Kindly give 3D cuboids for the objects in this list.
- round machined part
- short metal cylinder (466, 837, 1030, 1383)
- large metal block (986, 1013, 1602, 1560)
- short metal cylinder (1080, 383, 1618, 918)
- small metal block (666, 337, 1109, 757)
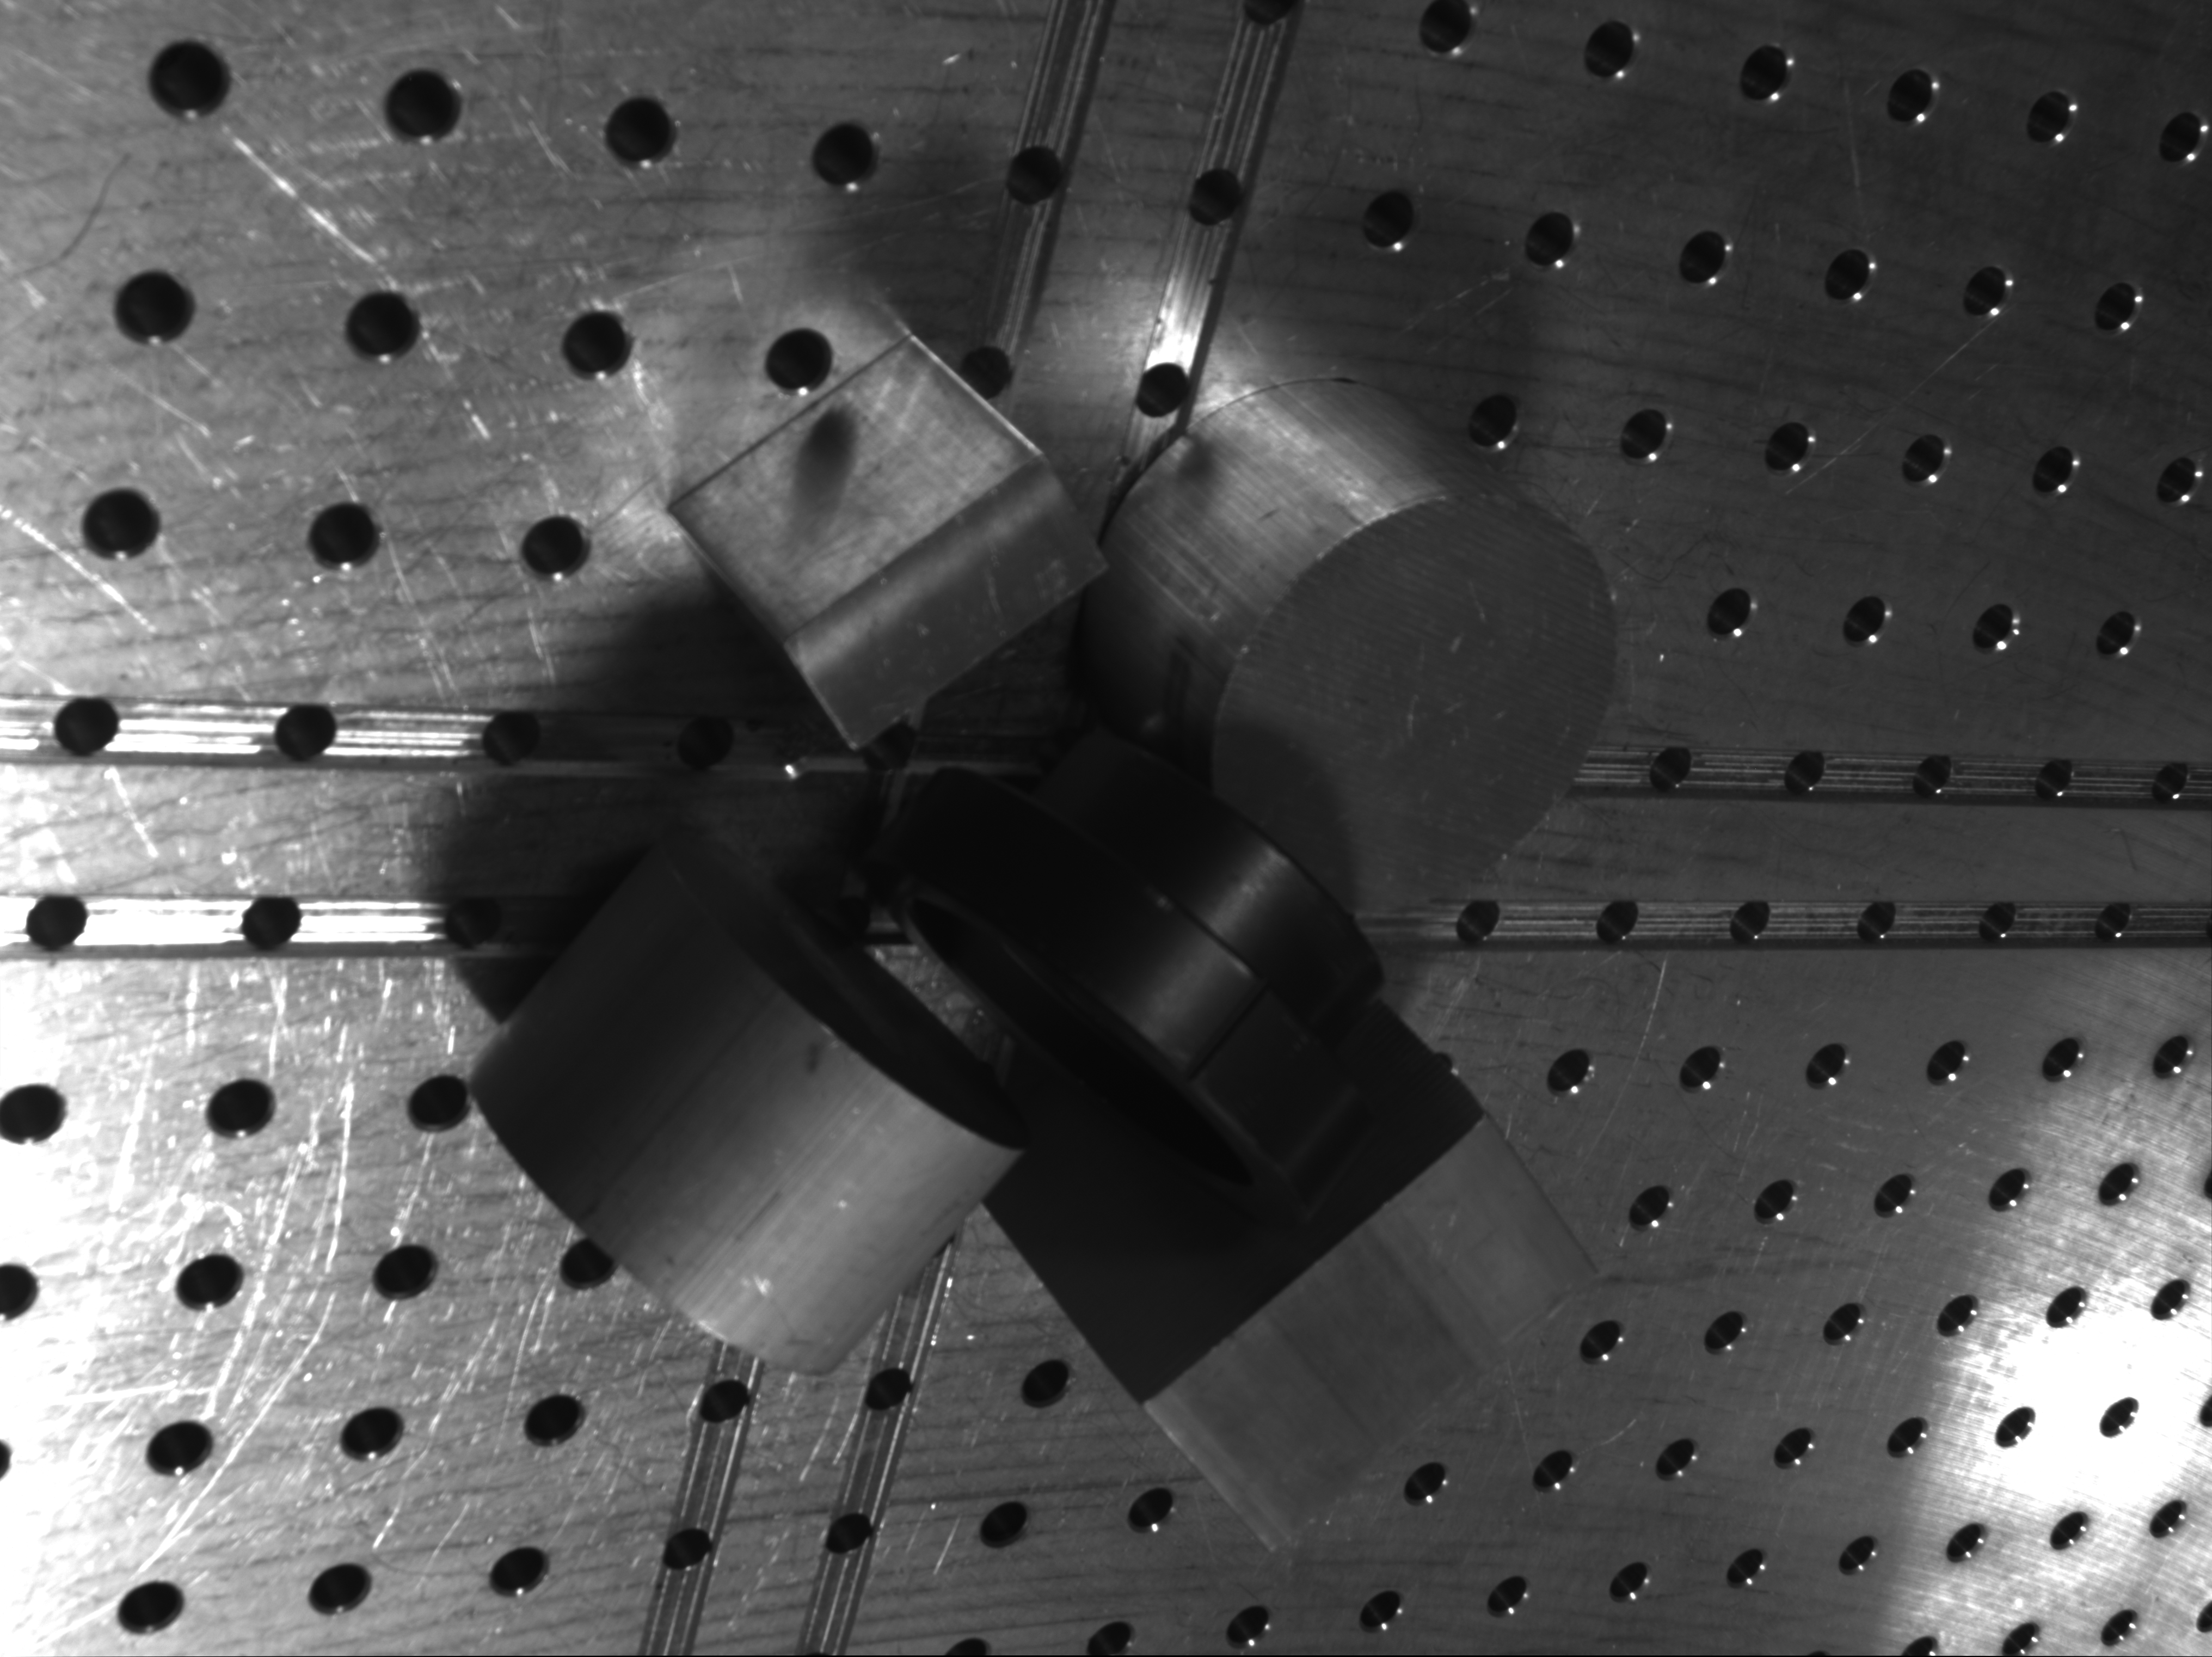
[{"bbox_3d":[0.009,0.023,0.626,0.042,0.098,0.098,-50,131,-11],"label":"round machined part"},{"bbox_3d":[-0.059,0.047,0.612,0.050,0.080,0.080,-49,130,5],"label":"short metal cylinder"},{"bbox_3d":[0.031,0.073,0.682,0.080,0.080,0.050,-40,130,-3],"label":"large metal block"},{"bbox_3d":[0.042,-0.031,0.642,0.080,0.050,0.080,-15,125,-22],"label":"short metal cylinder"},{"bbox_3d":[-0.036,-0.046,0.588,0.050,0.050,0.025,-36,130,-6],"label":"small metal block"}]
